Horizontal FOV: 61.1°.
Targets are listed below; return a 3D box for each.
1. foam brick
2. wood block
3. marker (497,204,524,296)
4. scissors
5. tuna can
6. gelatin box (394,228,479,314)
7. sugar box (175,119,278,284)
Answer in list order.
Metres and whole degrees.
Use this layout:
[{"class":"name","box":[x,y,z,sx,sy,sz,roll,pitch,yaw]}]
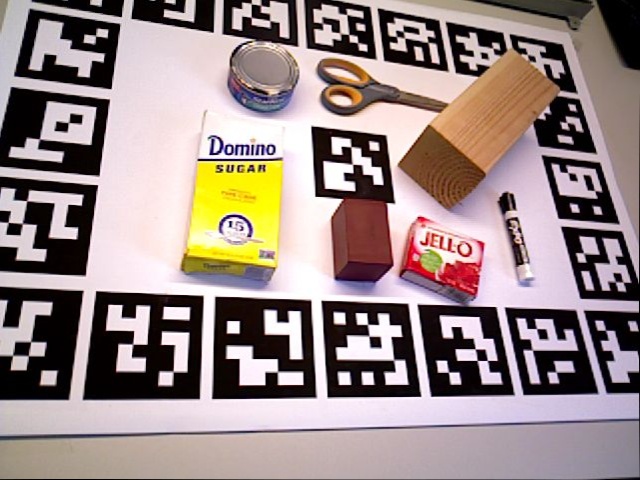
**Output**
[{"class":"foam brick","box":[0.041,0.012,0.598,0.052,0.052,0.077,6,66,-14]},{"class":"wood block","box":[0.205,-0.129,0.696,0.090,0.093,0.202,44,61,6]},{"class":"marker","box":[0.238,0.010,0.680,0.019,0.020,0.120,6,68,-15]},{"class":"scissors","box":[0.081,-0.182,0.722,0.201,0.016,0.086,11,64,-9]},{"class":"tuna can","box":[-0.080,-0.194,0.665,0.085,0.034,0.085,6,66,-14]},{"class":"gelatin box","box":[0.136,0.036,0.634,0.089,0.031,0.072,22,63,-6]},{"class":"sugar box","box":[-0.098,-0.043,0.591,0.092,0.046,0.174,9,65,-14]}]
